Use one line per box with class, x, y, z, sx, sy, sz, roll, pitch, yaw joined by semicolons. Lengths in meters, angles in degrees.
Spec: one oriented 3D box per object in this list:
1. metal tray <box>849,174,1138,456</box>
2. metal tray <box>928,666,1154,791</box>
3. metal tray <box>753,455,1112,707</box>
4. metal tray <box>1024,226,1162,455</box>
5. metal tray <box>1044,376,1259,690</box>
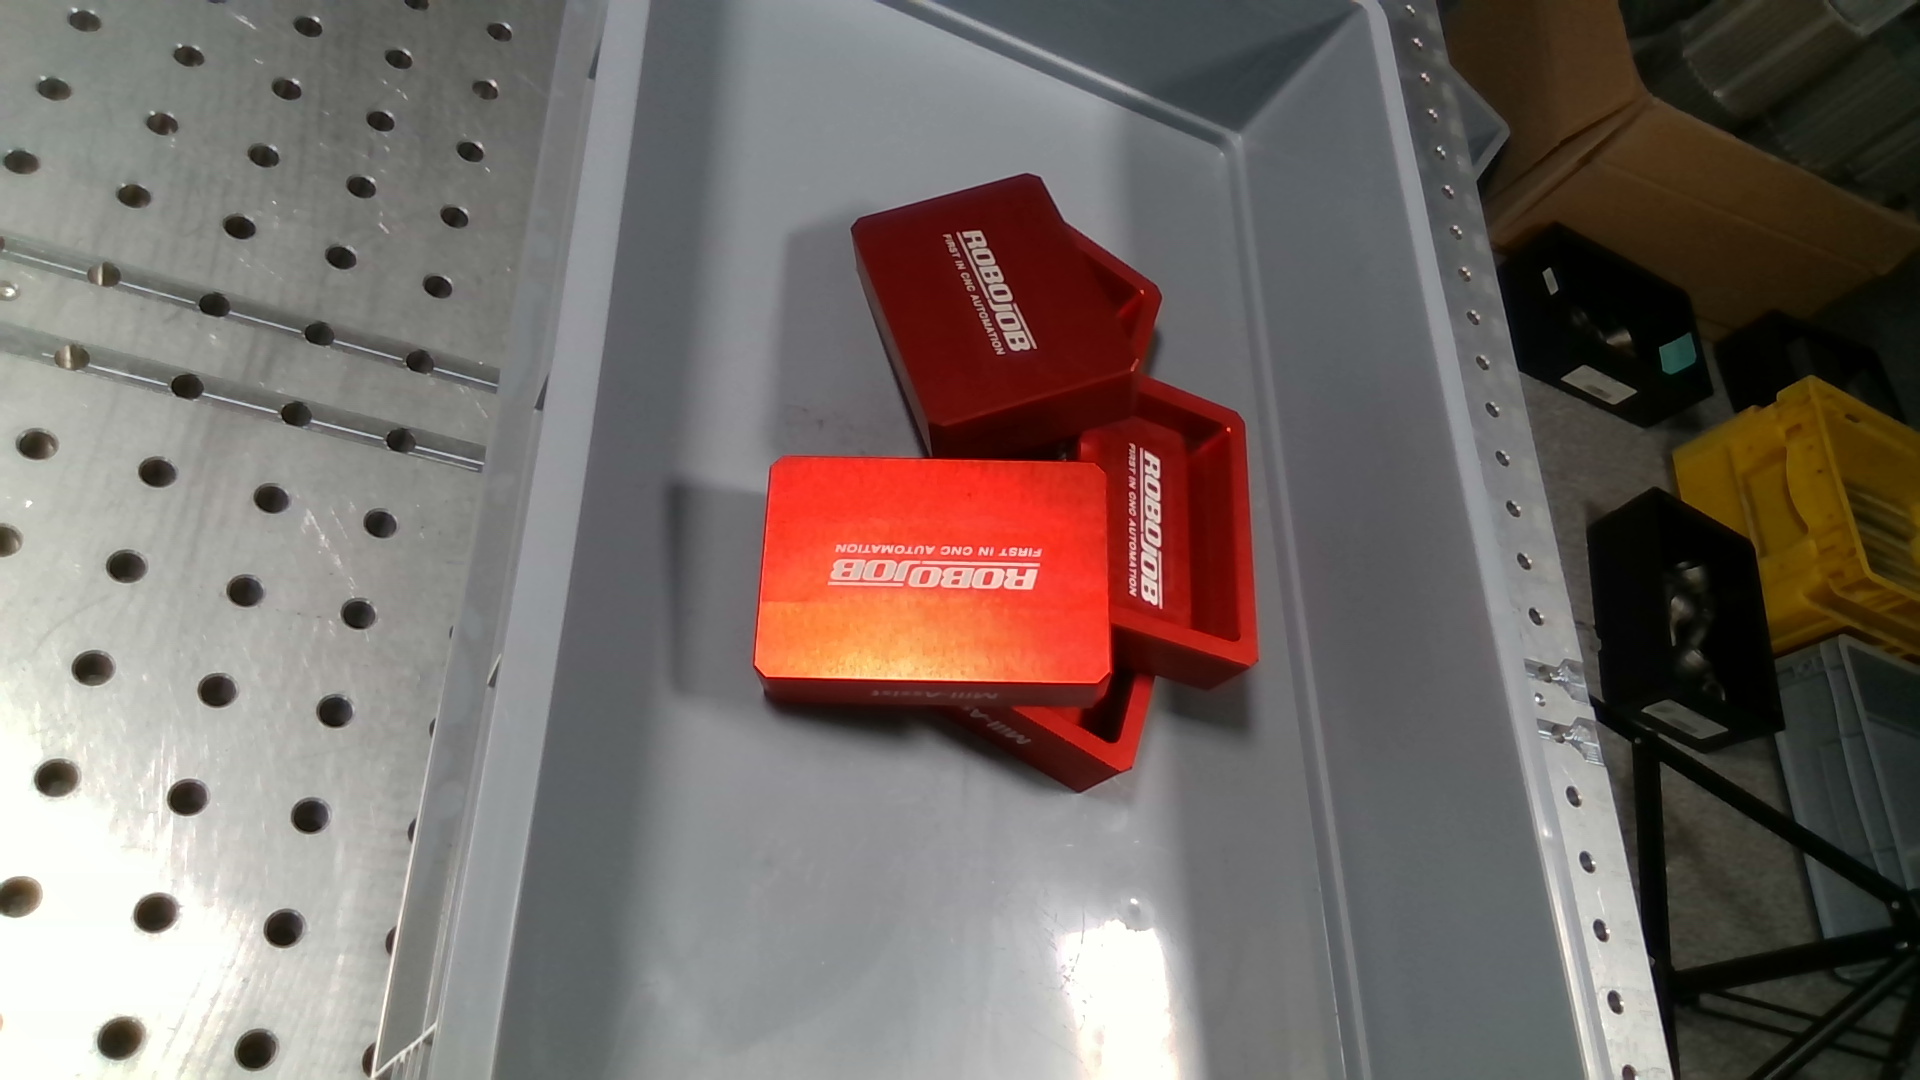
metal tray;0.012;-0.098;0.598;0.090;0.030;0.130;-17;55;-7
metal tray;0.020;0.035;0.575;0.130;0.030;0.090;31;53;-14
metal tray;-0.009;0.015;0.526;0.130;0.030;0.090;1;67;1
metal tray;0.040;-0.094;0.654;0.090;0.030;0.130;31;53;-14
metal tray;0.082;-0.009;0.597;0.090;0.030;0.130;18;57;-23
